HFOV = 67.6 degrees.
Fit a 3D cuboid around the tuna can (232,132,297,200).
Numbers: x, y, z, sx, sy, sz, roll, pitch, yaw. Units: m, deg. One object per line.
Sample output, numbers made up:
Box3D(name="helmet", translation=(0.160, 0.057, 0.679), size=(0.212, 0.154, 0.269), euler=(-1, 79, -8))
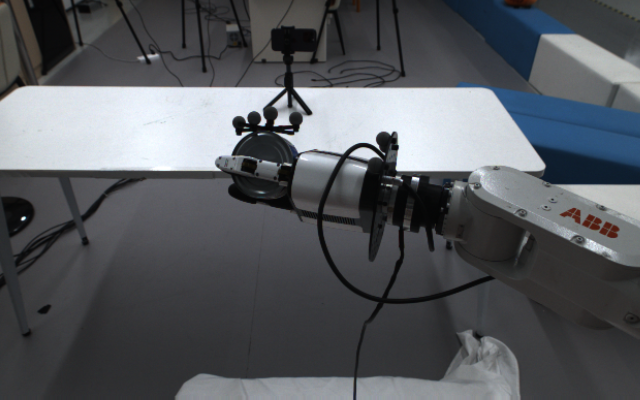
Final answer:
Box3D(name="tuna can", translation=(-0.068, -0.043, 0.620), size=(0.085, 0.085, 0.034), euler=(15, 1, 18))
